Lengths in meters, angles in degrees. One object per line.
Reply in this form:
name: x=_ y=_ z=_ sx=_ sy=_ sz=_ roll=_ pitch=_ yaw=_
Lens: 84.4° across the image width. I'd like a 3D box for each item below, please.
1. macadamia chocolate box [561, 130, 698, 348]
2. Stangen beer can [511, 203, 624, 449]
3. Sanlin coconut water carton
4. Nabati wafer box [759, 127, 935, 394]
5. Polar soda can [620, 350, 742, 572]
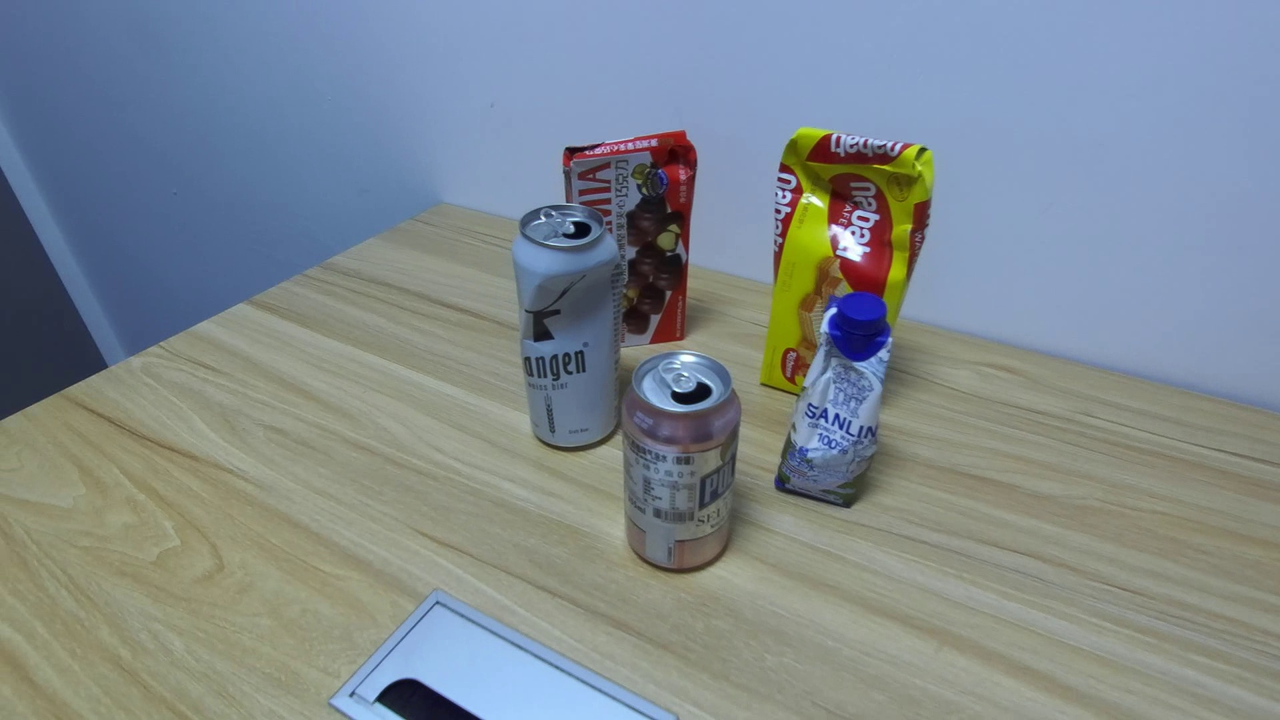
macadamia chocolate box: x=-0.006 y=-0.091 z=0.578 sx=0.103 sy=0.187 sz=0.027 roll=-7 pitch=39 yaw=-8
Stangen beer can: x=-0.048 y=-0.019 z=0.489 sx=0.070 sy=0.173 sz=0.070 roll=16 pitch=39 yaw=22
Sanlin coconut water carton: x=0.134 y=0.021 z=0.458 sx=0.056 sy=0.144 sz=0.068 roll=15 pitch=29 yaw=11
Nabati wafer box: x=0.146 y=-0.061 z=0.519 sx=0.113 sy=0.205 sz=0.043 roll=17 pitch=37 yaw=24
Polar soda can: x=0.024 y=0.061 z=0.417 sx=0.067 sy=0.126 sz=0.067 roll=0 pitch=34 yaw=0
